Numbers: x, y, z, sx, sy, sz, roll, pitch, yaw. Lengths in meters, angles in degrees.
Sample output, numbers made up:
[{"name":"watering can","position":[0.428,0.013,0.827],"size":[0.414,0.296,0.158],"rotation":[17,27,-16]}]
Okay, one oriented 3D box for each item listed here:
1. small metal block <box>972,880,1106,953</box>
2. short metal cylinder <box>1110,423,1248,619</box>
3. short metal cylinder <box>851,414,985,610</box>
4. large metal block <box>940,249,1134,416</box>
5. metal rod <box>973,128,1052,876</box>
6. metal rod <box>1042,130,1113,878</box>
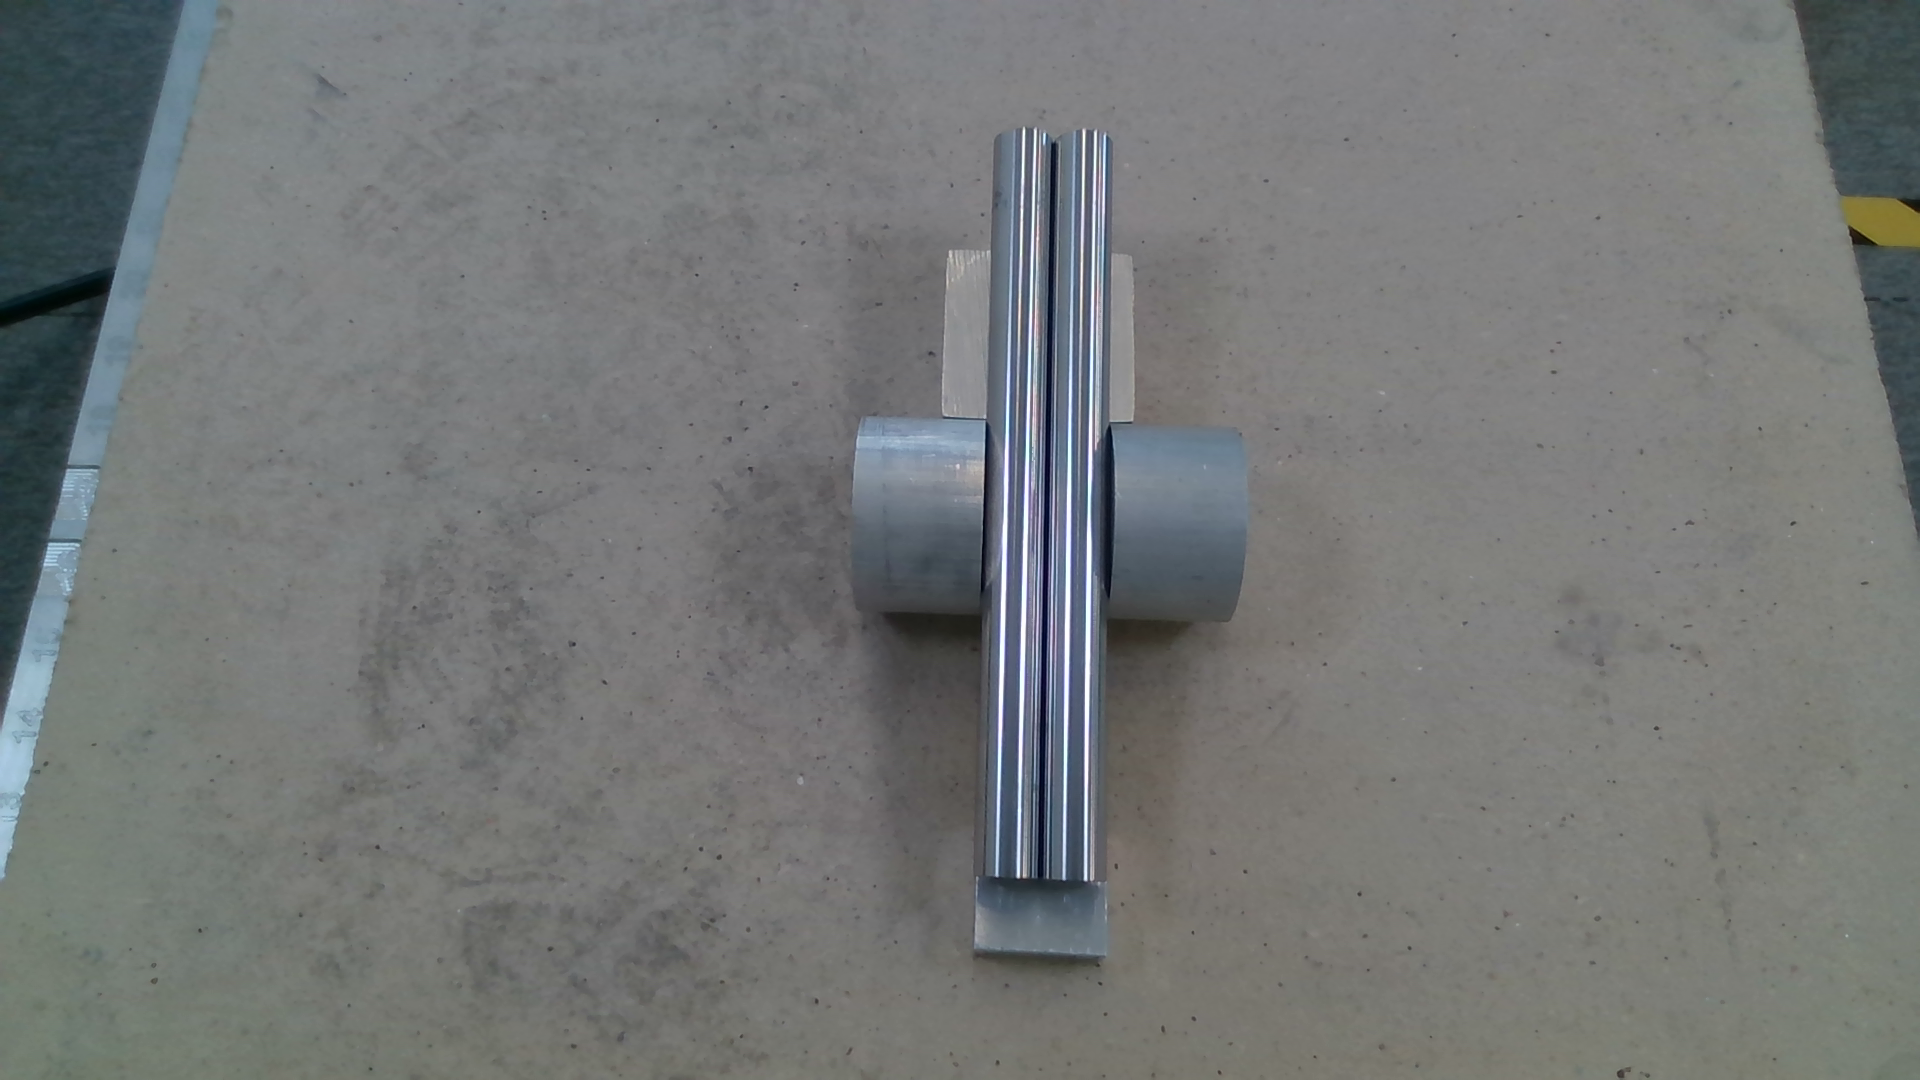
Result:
[{"name":"small metal block","position":[0.031,0.136,0.541],"size":[0.050,0.025,0.050],"rotation":[3,70,1]},{"name":"short metal cylinder","position":[0.084,-0.008,0.562],"size":[0.050,0.080,0.080],"rotation":[1,70,0]},{"name":"short metal cylinder","position":[-0.016,-0.011,0.563],"size":[0.050,0.080,0.080],"rotation":[1,70,0]},{"name":"large metal block","position":[0.033,-0.078,0.604],"size":[0.080,0.050,0.080],"rotation":[2,70,1]},{"name":"metal rod","position":[0.022,-0.020,0.548],"size":[0.025,0.025,0.299],"rotation":[2,78,1]},{"name":"metal rod","position":[0.047,-0.020,0.548],"size":[0.025,0.025,0.299],"rotation":[2,78,1]}]
